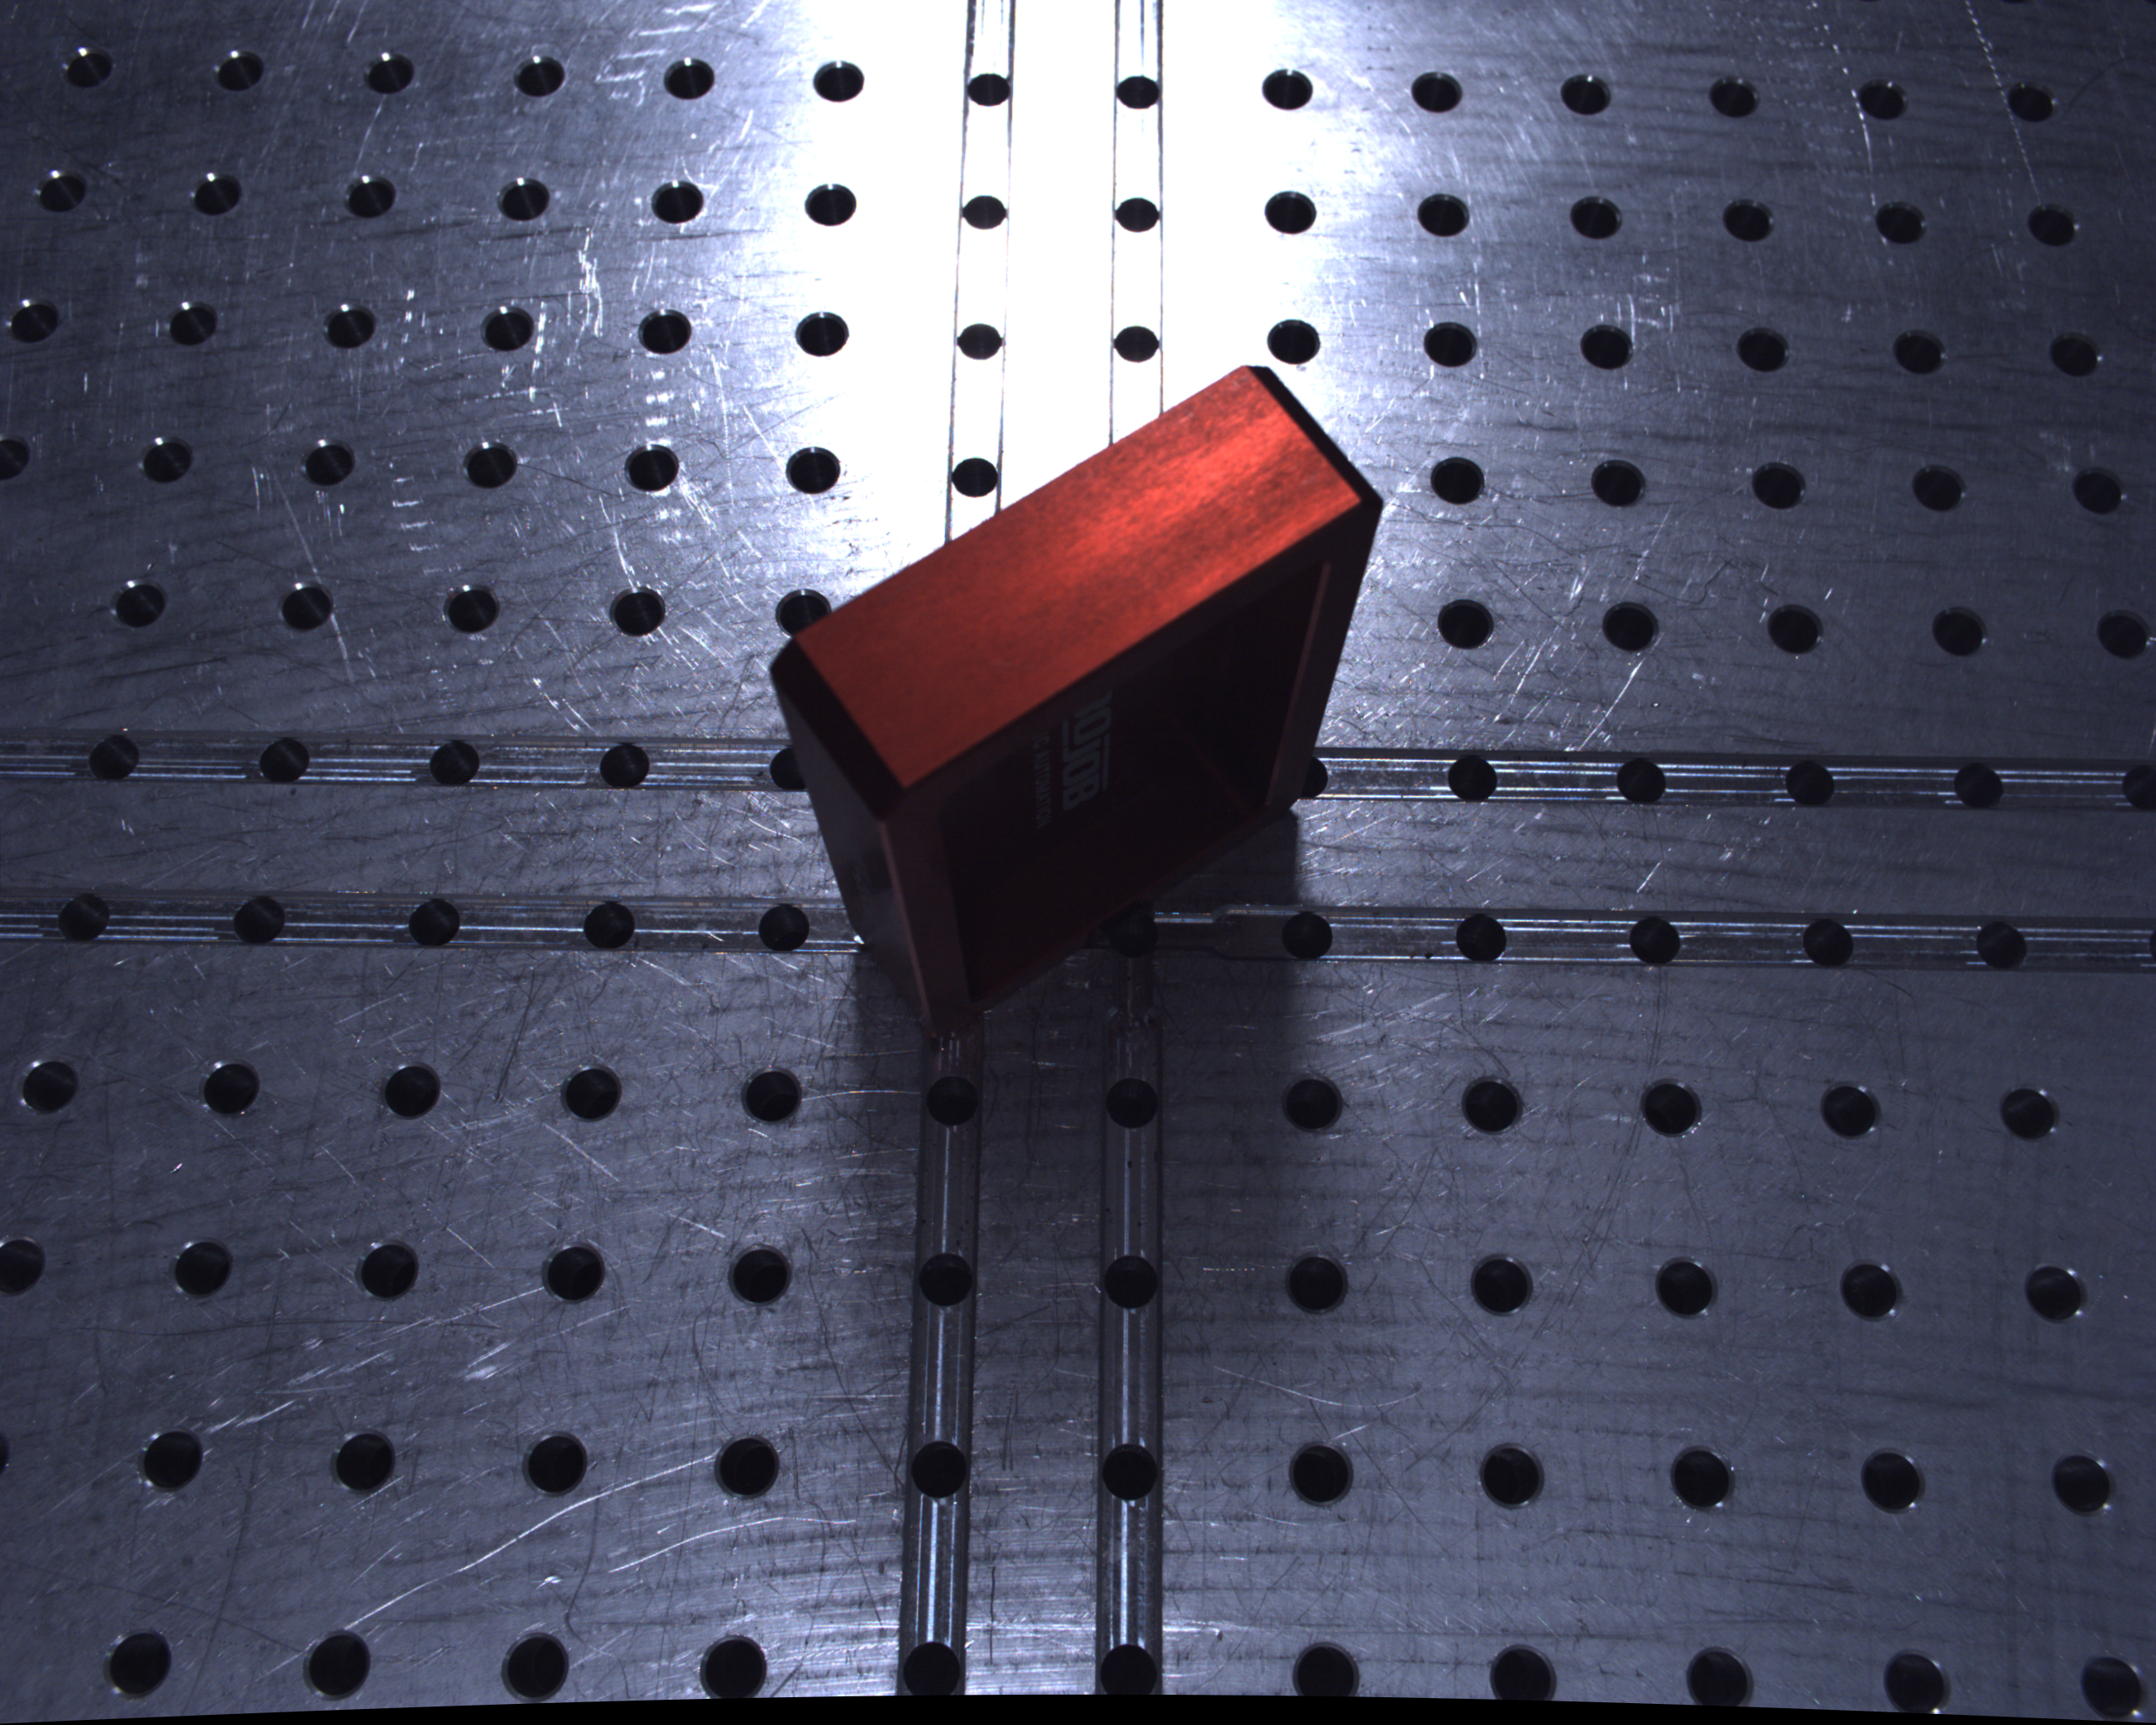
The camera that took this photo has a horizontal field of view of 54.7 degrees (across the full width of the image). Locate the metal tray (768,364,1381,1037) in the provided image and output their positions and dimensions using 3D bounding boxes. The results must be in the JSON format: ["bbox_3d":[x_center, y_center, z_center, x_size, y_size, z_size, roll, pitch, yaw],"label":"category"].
[{"bbox_3d":[0.000,-0.021,0.363,0.090,0.130,0.030,-33,74,-12],"label":"metal tray"}]
